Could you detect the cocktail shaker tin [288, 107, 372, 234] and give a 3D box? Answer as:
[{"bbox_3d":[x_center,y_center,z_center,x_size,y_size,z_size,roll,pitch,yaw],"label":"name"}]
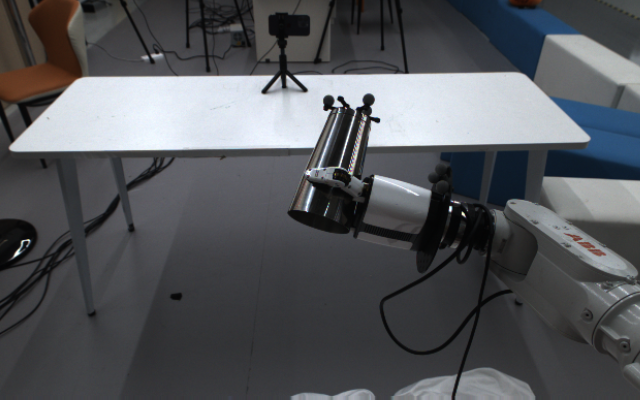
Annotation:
[{"bbox_3d":[0.021,-0.046,0.708,0.093,0.093,0.170,13,73,15],"label":"cocktail shaker tin"}]
